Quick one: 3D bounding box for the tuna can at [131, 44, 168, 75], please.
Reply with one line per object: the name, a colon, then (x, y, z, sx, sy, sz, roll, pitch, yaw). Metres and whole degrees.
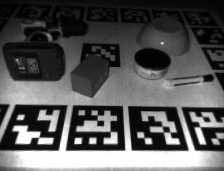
tuna can: (0.090, -0.064, 0.526, 0.086, 0.034, 0.085, 4, 46, -4)

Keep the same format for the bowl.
bowl: (0.137, -0.156, 0.619, 0.161, 0.055, 0.161, 0, 39, 0)

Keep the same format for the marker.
marker: (0.176, -0.021, 0.501, 0.122, 0.020, 0.019, -6, 48, -11)

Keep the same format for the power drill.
power drill: (-0.171, -0.109, 0.539, 0.185, 0.057, 0.186, 3, 43, -7)

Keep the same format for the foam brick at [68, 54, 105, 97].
foam brick: (-0.054, -0.024, 0.473, 0.051, 0.053, 0.078, 19, 49, 13)
